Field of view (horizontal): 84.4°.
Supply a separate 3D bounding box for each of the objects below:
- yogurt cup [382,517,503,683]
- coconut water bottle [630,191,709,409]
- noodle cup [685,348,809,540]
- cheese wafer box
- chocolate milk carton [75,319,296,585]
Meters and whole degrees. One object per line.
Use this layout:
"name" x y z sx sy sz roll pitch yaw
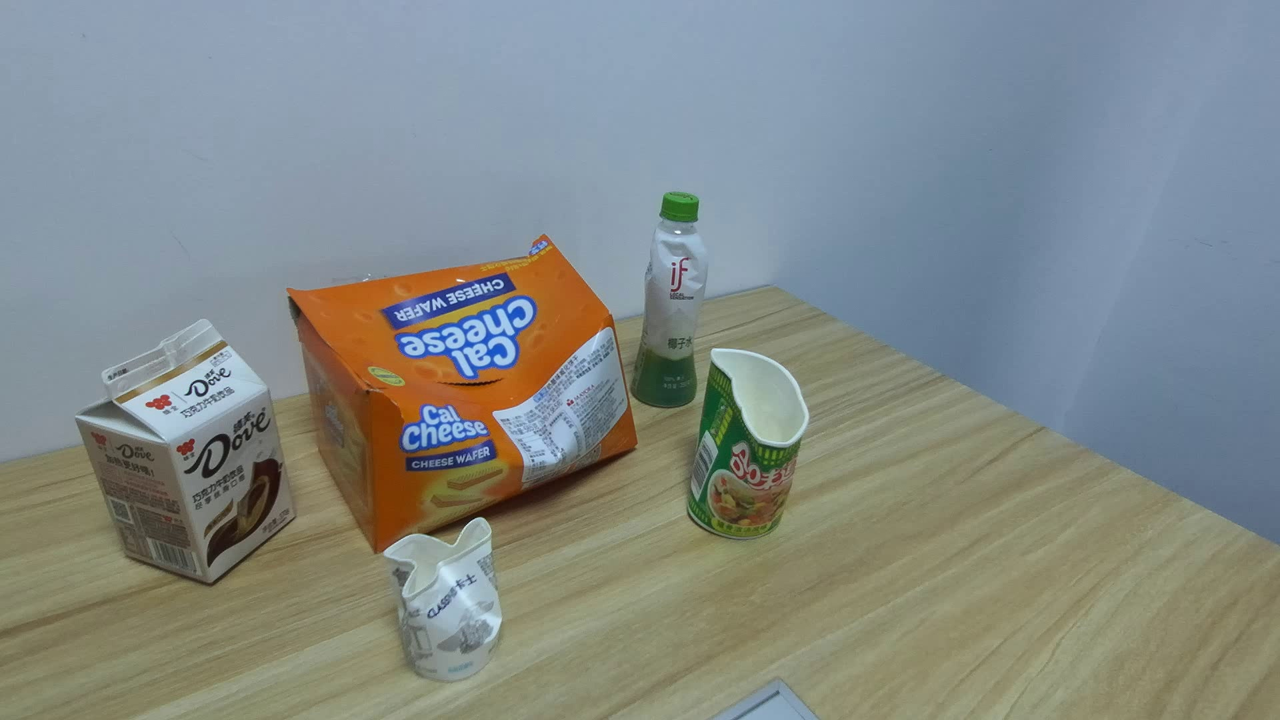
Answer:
"yogurt cup" -0.108 0.133 0.395 0.055 0.072 0.055 -12 30 -23
"coconut water bottle" 0.029 -0.052 0.625 0.067 0.187 0.067 4 26 -2
"noodle cup" 0.073 0.065 0.497 0.070 0.111 0.115 8 29 9
"cheese wafer box" -0.120 0.015 0.538 0.220 0.145 0.190 -17 34 -32
"chocolate milk carton" -0.280 0.053 0.440 0.074 0.148 0.075 12 28 17
